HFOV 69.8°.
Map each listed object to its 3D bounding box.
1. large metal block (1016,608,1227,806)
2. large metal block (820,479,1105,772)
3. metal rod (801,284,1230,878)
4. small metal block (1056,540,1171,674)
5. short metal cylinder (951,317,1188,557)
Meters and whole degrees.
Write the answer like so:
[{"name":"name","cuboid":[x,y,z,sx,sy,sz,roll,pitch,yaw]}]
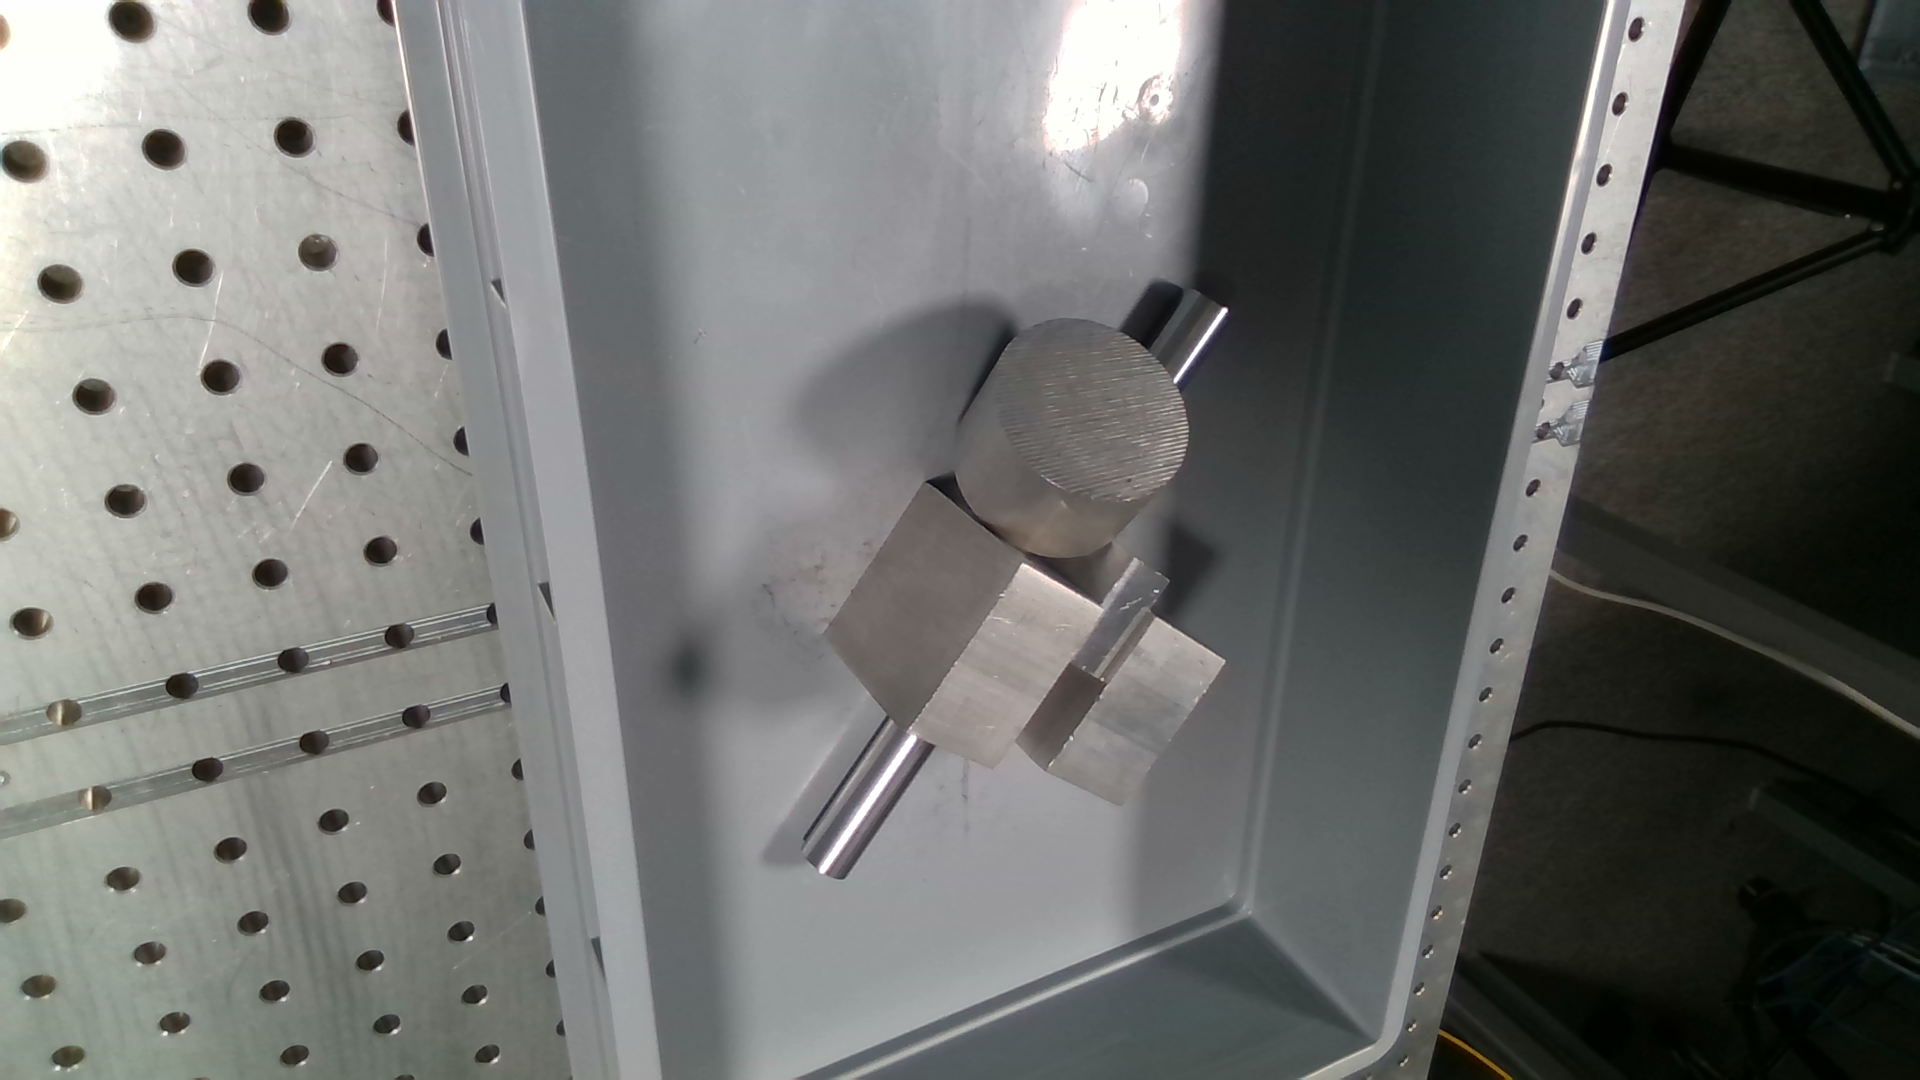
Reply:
[{"name":"large metal block","cuboid":[0.056,0.057,0.611,0.050,0.080,0.080,31,97,-39]},{"name":"large metal block","cuboid":[-0.001,0.034,0.562,0.050,0.080,0.080,29,98,-39]},{"name":"metal rod","cuboid":[0.022,0.021,0.605,0.025,0.025,0.300,29,98,-39]},{"name":"small metal block","cuboid":[0.052,0.019,0.576,0.025,0.050,0.050,31,96,-39]},{"name":"short metal cylinder","cuboid":[0.042,-0.040,0.541,0.080,0.080,0.050,-14,161,-25]}]
